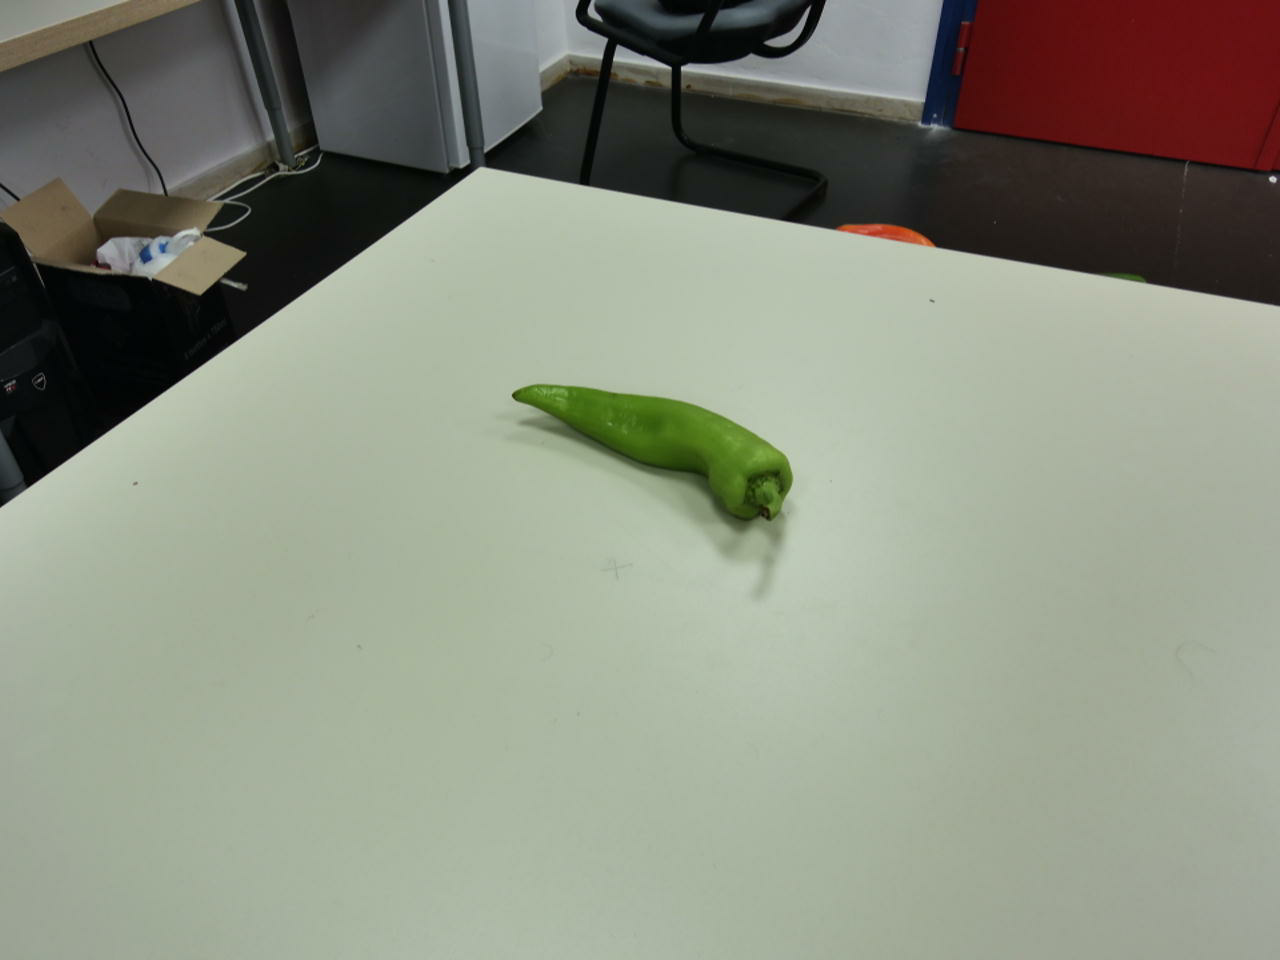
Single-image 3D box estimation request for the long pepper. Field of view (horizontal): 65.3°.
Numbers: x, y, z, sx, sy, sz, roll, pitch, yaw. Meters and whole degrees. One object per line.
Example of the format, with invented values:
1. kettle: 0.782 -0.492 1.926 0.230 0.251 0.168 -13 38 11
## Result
1. long pepper: 0.013 -0.028 0.611 0.205 0.045 0.065 28 47 31
